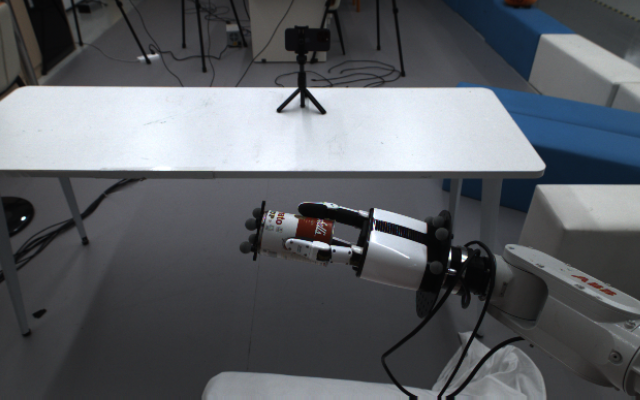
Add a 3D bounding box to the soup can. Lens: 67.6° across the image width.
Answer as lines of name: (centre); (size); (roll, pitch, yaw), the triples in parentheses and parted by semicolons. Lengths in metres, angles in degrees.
soup can: (-0.031, 0.056, 0.701); (0.101, 0.067, 0.067); (10, 35, 0)
